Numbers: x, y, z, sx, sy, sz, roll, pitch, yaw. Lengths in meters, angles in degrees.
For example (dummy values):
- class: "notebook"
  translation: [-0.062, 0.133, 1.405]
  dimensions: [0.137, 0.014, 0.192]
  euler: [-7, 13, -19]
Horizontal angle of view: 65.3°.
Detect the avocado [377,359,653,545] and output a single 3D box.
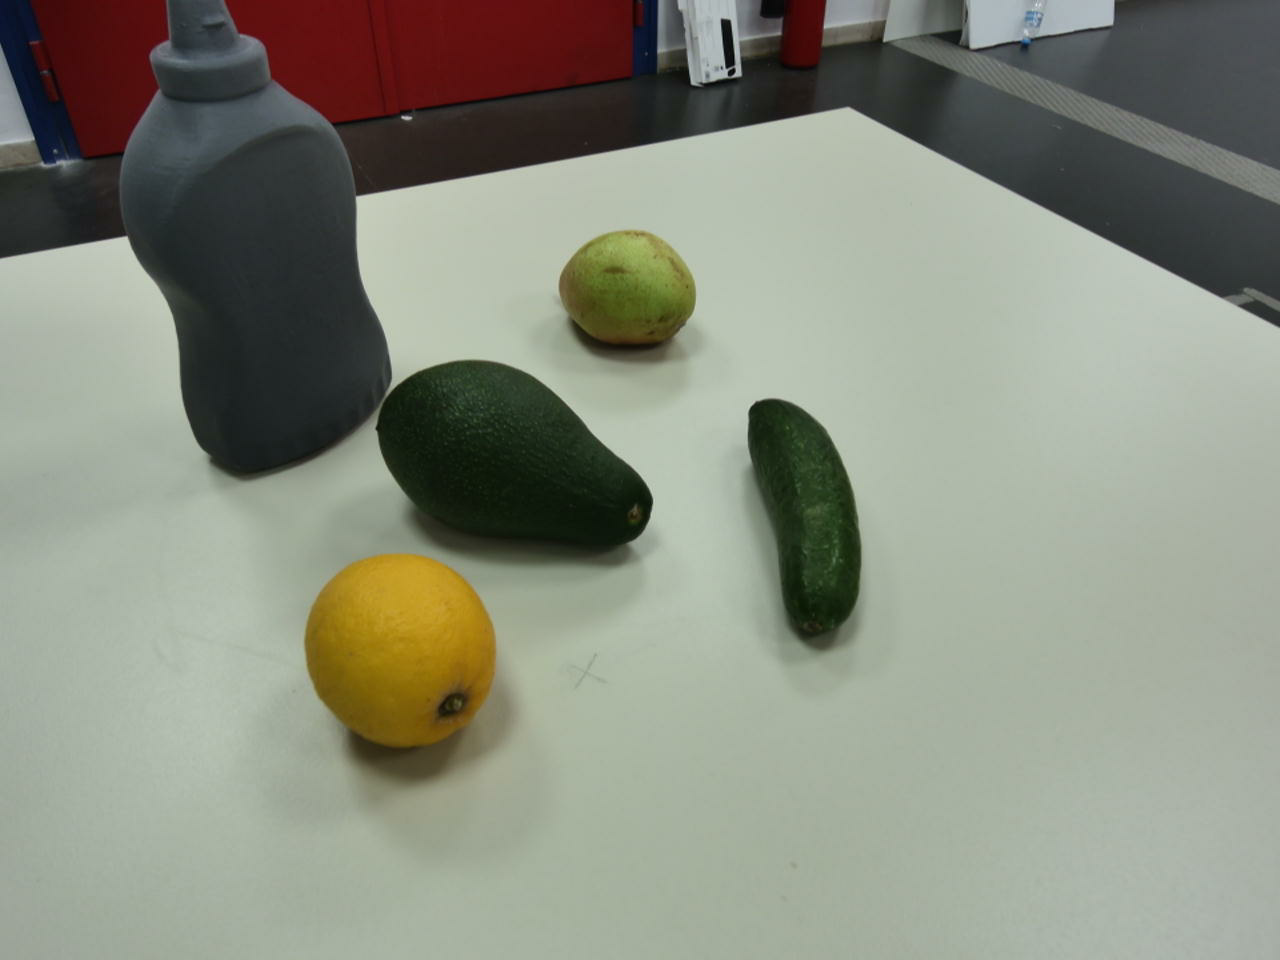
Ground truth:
- class: "avocado"
  translation: [-0.054, -0.009, 0.407]
  dimensions: [0.110, 0.071, 0.072]
  euler: [28, 45, 30]
